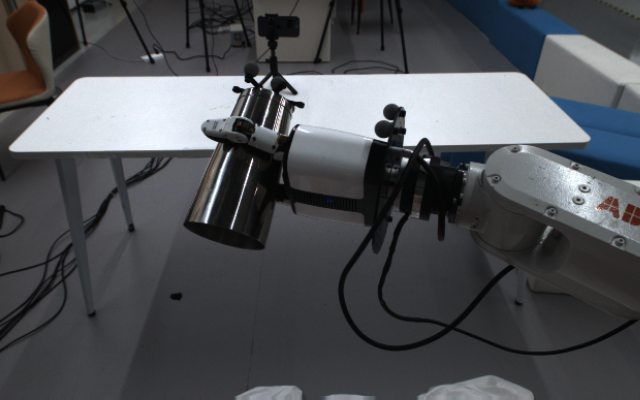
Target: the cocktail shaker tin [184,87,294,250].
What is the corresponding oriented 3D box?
[{"bbox_3d":[-0.083,-0.037,0.551,0.093,0.093,0.170,11,71,12],"label":"cocktail shaker tin"}]
